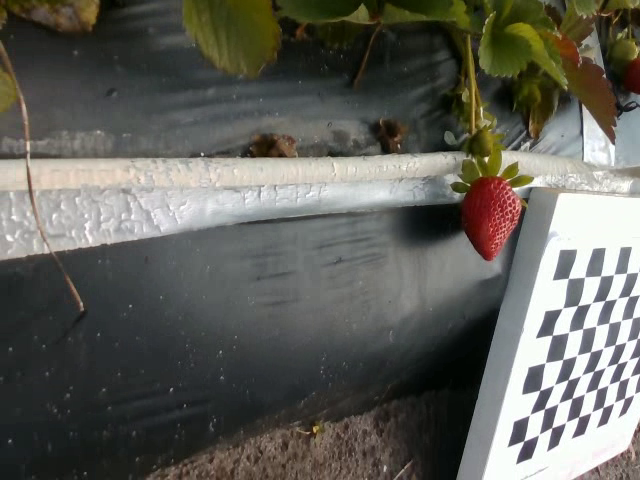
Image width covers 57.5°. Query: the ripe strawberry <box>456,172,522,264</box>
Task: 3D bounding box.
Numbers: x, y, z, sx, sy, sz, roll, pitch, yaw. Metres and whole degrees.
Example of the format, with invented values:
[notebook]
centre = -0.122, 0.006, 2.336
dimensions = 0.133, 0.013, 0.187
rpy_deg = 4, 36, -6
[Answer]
[ripe strawberry]
centre = 0.091, -0.010, 0.314
dimensions = 0.030, 0.053, 0.048
rpy_deg = -3, -37, 35
